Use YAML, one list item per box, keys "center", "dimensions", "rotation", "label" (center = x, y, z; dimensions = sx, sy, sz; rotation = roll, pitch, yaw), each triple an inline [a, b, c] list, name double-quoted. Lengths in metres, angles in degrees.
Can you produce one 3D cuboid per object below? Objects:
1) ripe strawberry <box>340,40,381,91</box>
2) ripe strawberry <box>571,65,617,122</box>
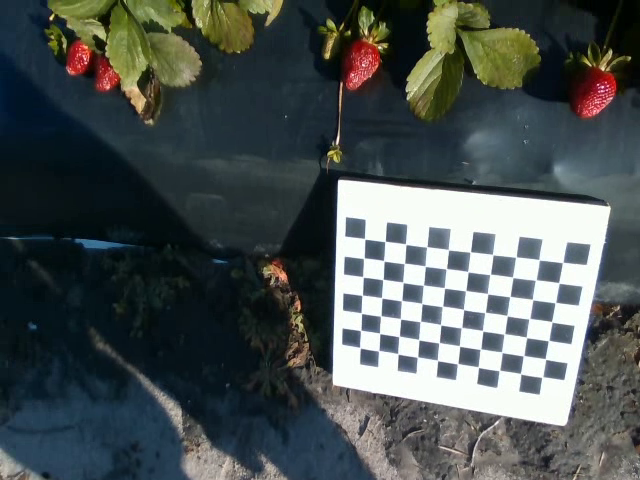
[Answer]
- center: [0.034, -0.161, 0.625]
  dimensions: [0.041, 0.053, 0.043]
  rotation: [16, -18, 7]
  label: "ripe strawberry"
- center: [0.229, -0.122, 0.571]
  dimensions: [0.042, 0.050, 0.043]
  rotation: [37, -20, -4]
  label: "ripe strawberry"
